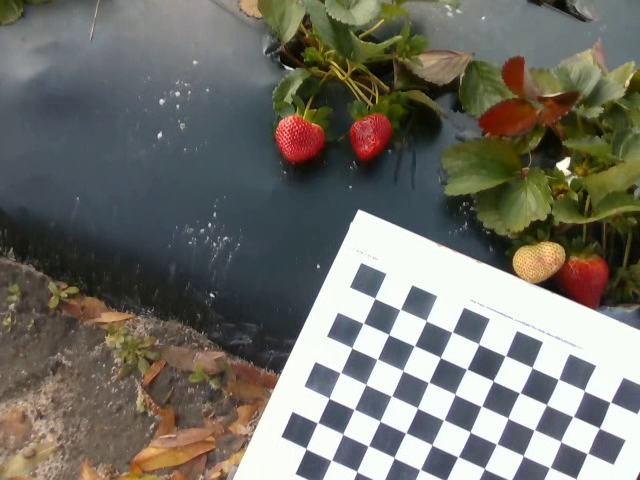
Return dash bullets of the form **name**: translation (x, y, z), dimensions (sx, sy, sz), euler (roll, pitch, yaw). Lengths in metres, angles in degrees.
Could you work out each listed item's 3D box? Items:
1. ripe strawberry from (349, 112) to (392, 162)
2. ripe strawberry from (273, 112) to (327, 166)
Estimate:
- **ripe strawberry**: translation (0.046, -0.100, 0.608), dimensions (0.042, 0.053, 0.034), euler (8, -40, 5)
- **ripe strawberry**: translation (-0.020, -0.093, 0.601), dimensions (0.050, 0.061, 0.045), euler (13, -43, 6)
